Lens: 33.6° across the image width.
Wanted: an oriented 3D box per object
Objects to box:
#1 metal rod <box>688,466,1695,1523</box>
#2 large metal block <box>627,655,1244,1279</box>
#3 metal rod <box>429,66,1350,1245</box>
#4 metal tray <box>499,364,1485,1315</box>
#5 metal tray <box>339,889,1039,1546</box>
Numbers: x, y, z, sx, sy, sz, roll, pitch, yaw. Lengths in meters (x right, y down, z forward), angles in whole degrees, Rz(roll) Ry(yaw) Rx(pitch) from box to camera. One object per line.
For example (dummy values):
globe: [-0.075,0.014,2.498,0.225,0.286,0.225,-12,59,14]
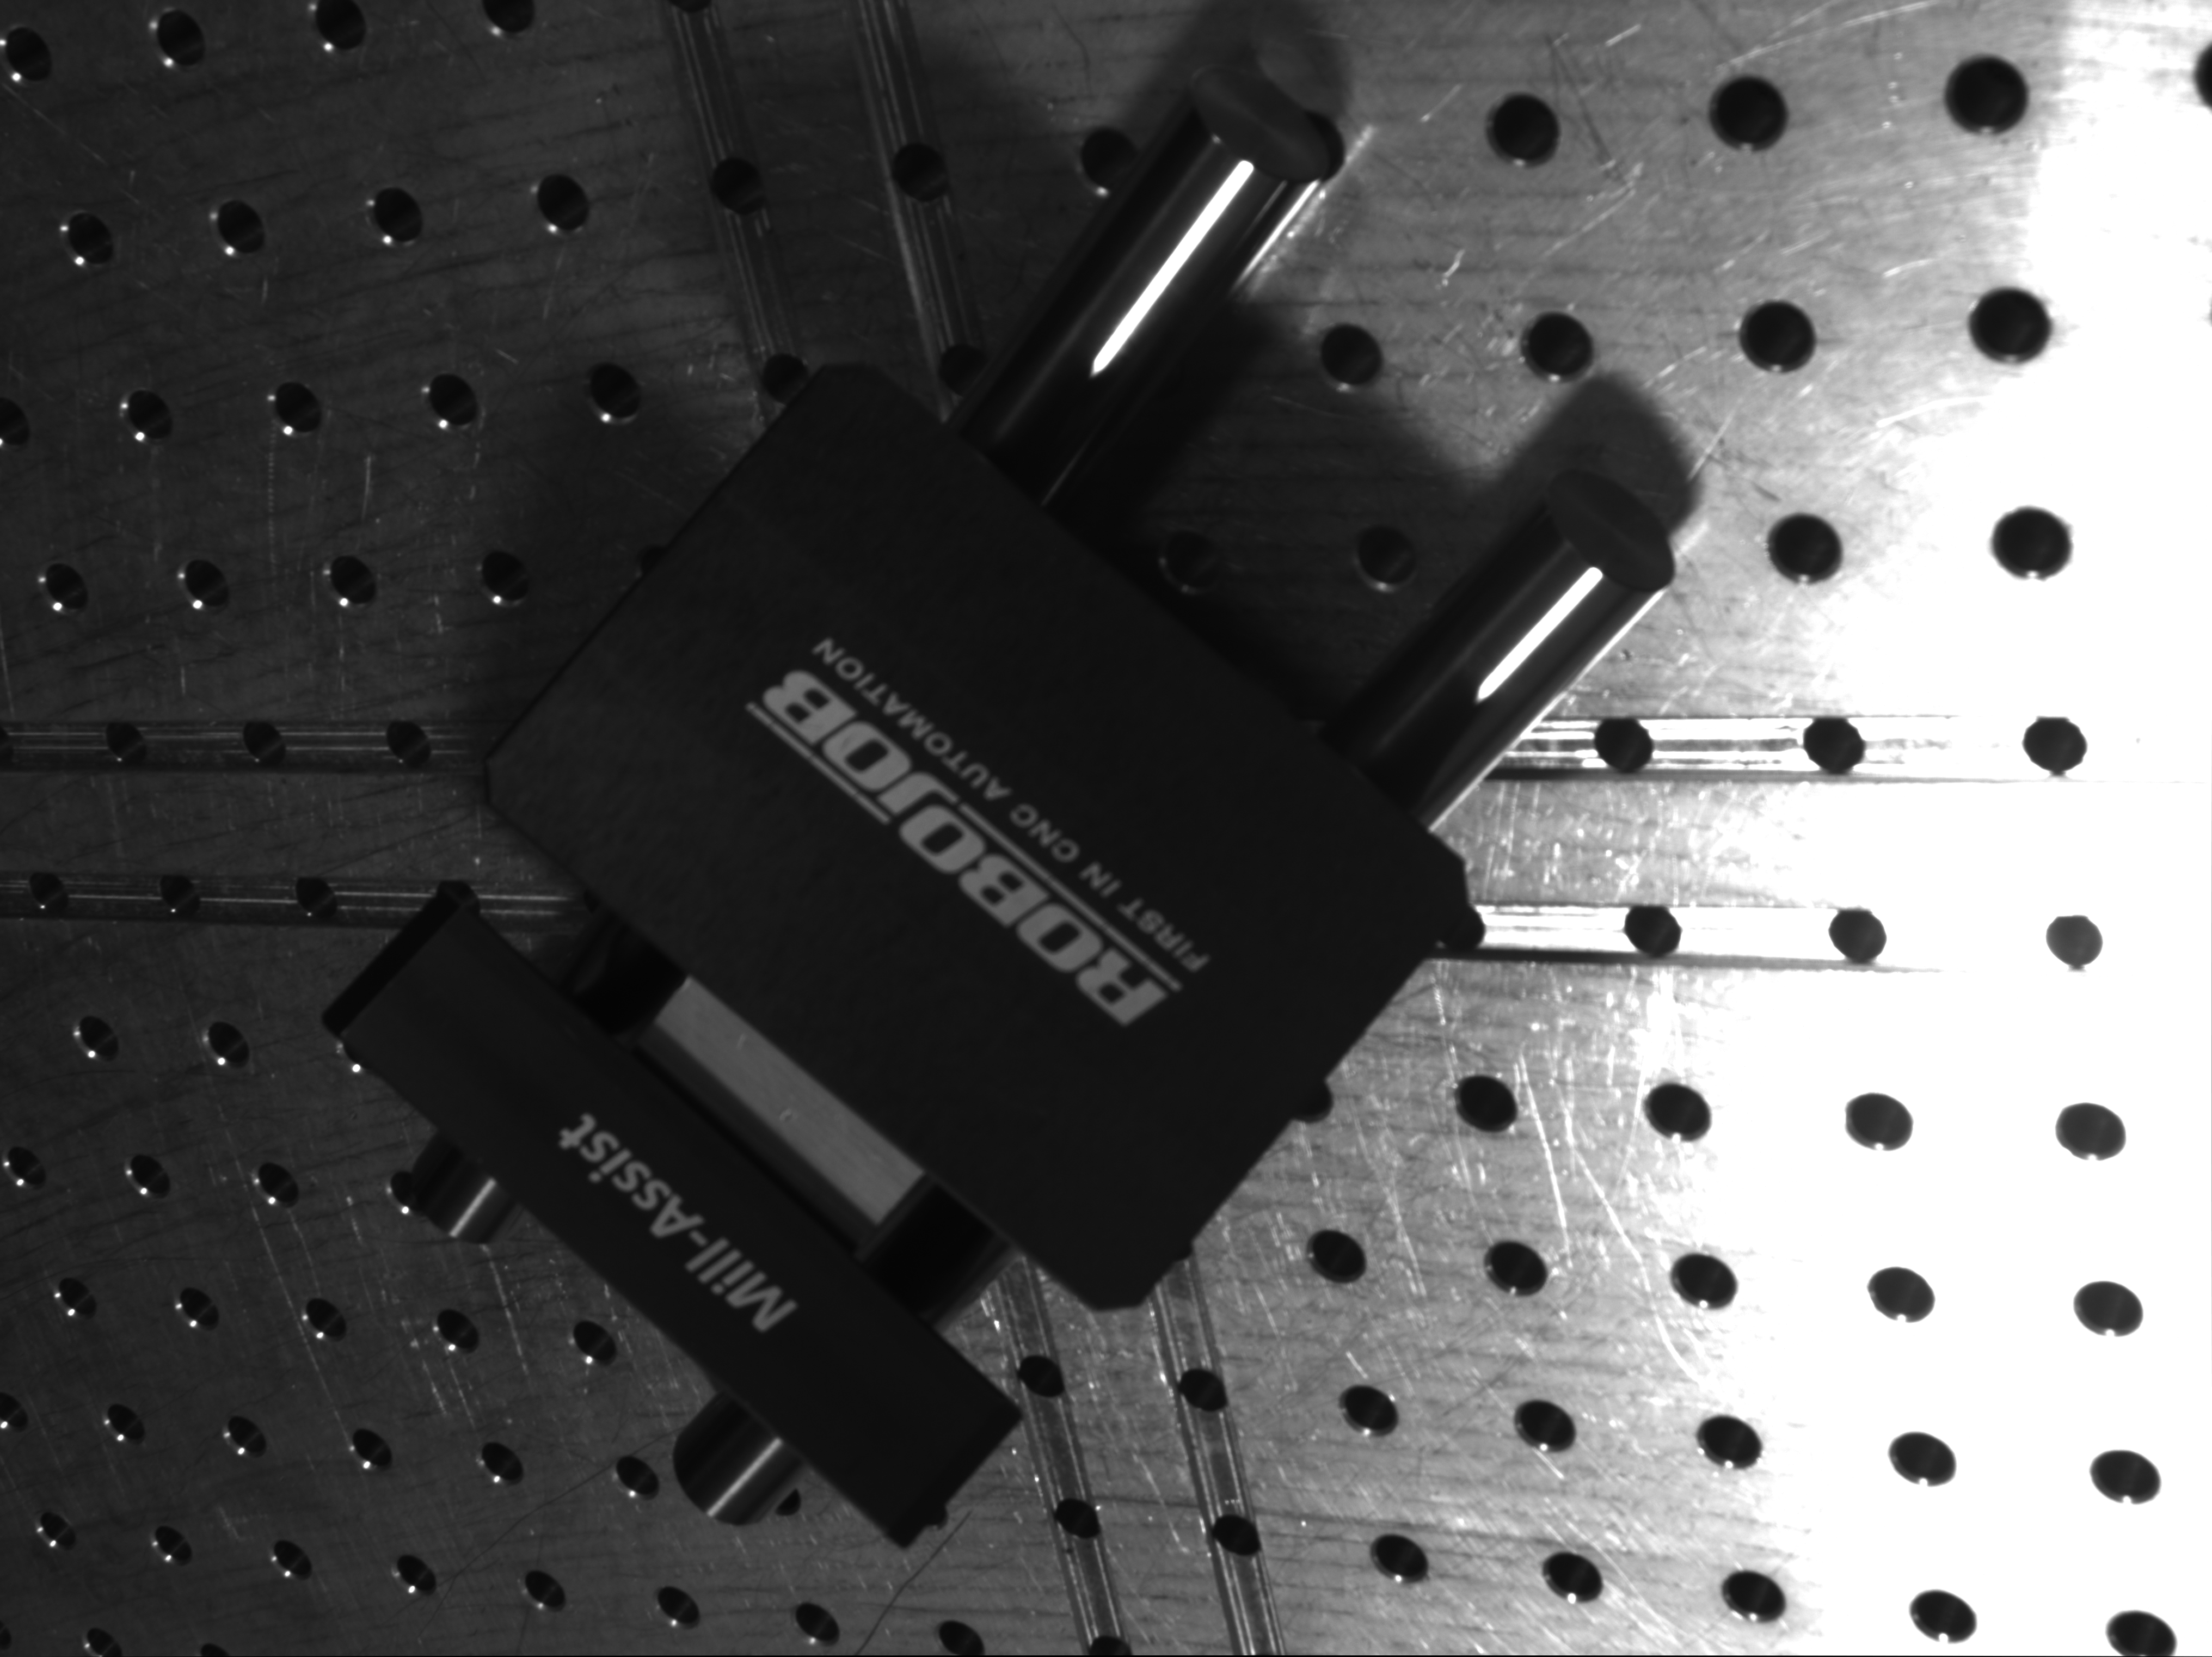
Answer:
metal rod: [0.003,0.042,0.658,0.025,0.025,0.300,41,128,-1]
large metal block: [-0.030,0.021,0.626,0.050,0.080,0.080,41,128,-1]
metal rod: [-0.049,-0.017,0.649,0.025,0.025,0.300,40,128,0]
metal tray: [-0.018,0.002,0.575,0.130,0.030,0.090,40,84,0]
metal tray: [-0.073,0.068,0.643,0.130,0.030,0.090,43,172,-2]
